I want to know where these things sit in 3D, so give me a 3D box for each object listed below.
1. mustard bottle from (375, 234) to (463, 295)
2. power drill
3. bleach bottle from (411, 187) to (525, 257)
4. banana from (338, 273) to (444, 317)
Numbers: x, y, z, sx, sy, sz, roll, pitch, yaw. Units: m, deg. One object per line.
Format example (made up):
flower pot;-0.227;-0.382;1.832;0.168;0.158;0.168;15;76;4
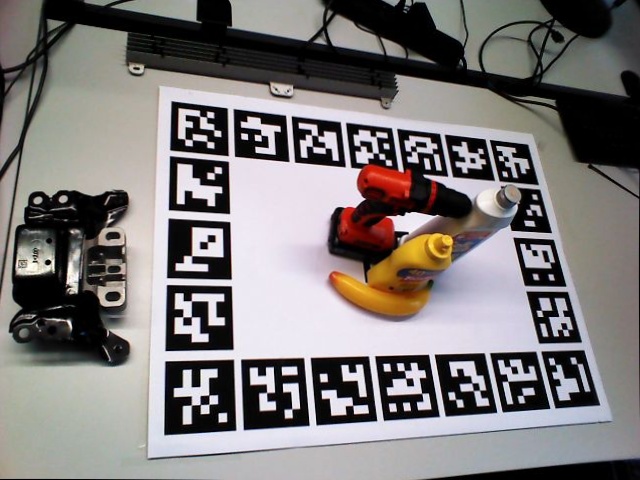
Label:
mustard bottle;0.169;0.036;0.820;0.096;0.193;0.058;5;68;-19
power drill;0.133;-0.040;0.815;0.184;0.188;0.057;16;63;-15
bleach bottle;0.240;-0.022;0.842;0.102;0.252;0.067;7;62;-17
banana;0.123;0.093;0.879;0.197;0.039;0.074;8;68;-14
